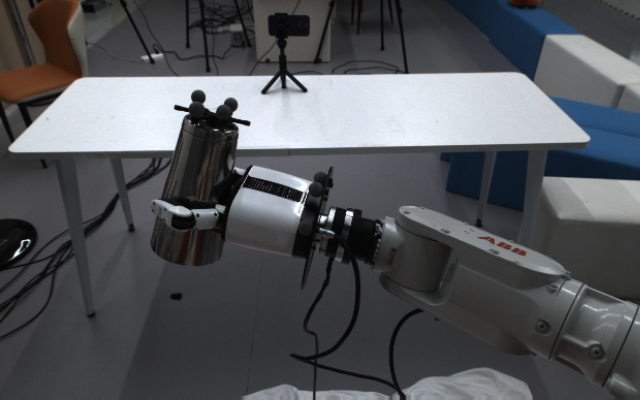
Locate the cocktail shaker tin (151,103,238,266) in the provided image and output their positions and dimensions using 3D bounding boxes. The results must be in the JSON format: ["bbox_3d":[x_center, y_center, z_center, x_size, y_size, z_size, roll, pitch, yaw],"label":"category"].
[{"bbox_3d":[-0.150,-0.015,0.601,0.093,0.170,0.093,15,20,-5],"label":"cocktail shaker tin"}]
